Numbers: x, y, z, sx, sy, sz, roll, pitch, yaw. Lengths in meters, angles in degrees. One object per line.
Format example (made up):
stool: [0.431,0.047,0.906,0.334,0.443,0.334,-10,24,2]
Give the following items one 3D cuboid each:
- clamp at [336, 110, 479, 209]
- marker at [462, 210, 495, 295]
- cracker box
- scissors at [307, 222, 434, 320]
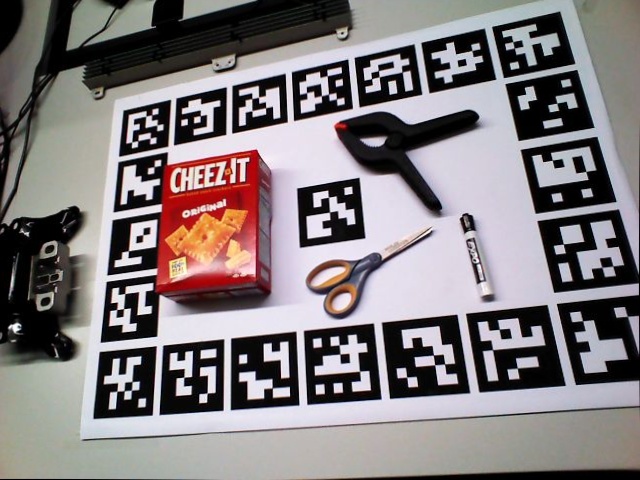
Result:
clamp: [0.116,-0.149,0.796,0.203,0.036,0.164,22,76,22]
marker: [0.213,0.014,0.698,0.020,0.019,0.120,-12,66,12]
cracker box: [-0.160,-0.021,0.797,0.165,0.072,0.212,-7,68,14]
scissors: [0.075,0.030,0.734,0.203,0.016,0.087,-34,63,-1]
